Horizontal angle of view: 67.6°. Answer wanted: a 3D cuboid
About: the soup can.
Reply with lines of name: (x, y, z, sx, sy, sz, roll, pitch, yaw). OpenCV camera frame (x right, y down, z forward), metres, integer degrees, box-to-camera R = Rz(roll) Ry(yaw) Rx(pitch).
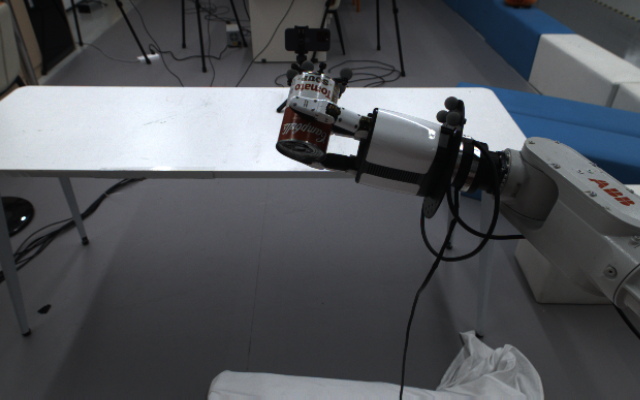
soup can: (-0.015, -0.111, 0.644, 0.067, 0.067, 0.101, 8, 74, 9)
